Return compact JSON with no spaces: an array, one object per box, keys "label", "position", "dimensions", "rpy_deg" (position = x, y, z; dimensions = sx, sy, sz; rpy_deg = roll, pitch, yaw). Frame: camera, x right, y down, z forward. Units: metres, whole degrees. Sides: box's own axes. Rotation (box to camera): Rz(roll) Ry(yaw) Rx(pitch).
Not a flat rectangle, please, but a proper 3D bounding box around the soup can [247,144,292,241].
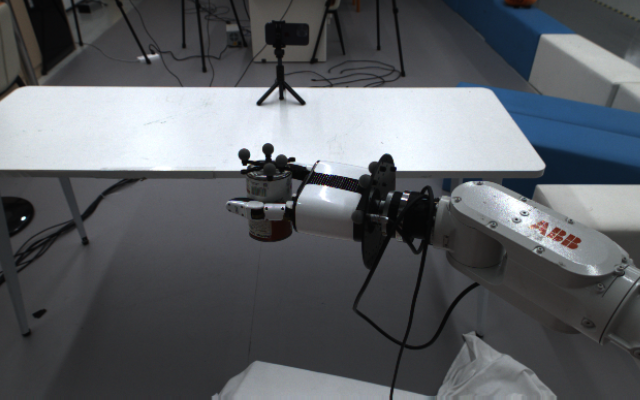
[{"label":"soup can","position":[-0.072,0.002,0.710],"dimensions":[0.067,0.101,0.067],"rpy_deg":[1,26,0]}]
